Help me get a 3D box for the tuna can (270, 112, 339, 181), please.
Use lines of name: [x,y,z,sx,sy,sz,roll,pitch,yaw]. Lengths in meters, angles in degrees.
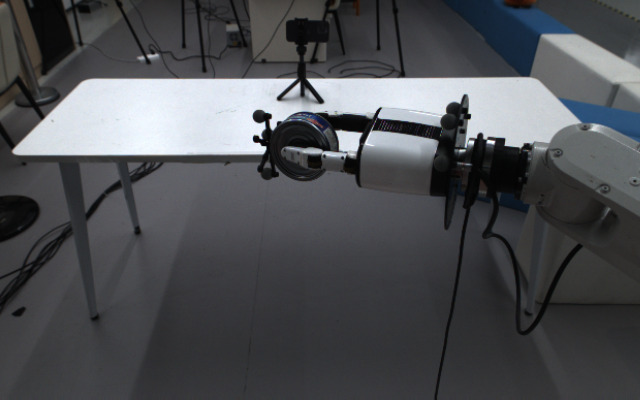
tuna can: [-0.020,-0.071,0.626,0.085,0.085,0.034,12,28,14]
